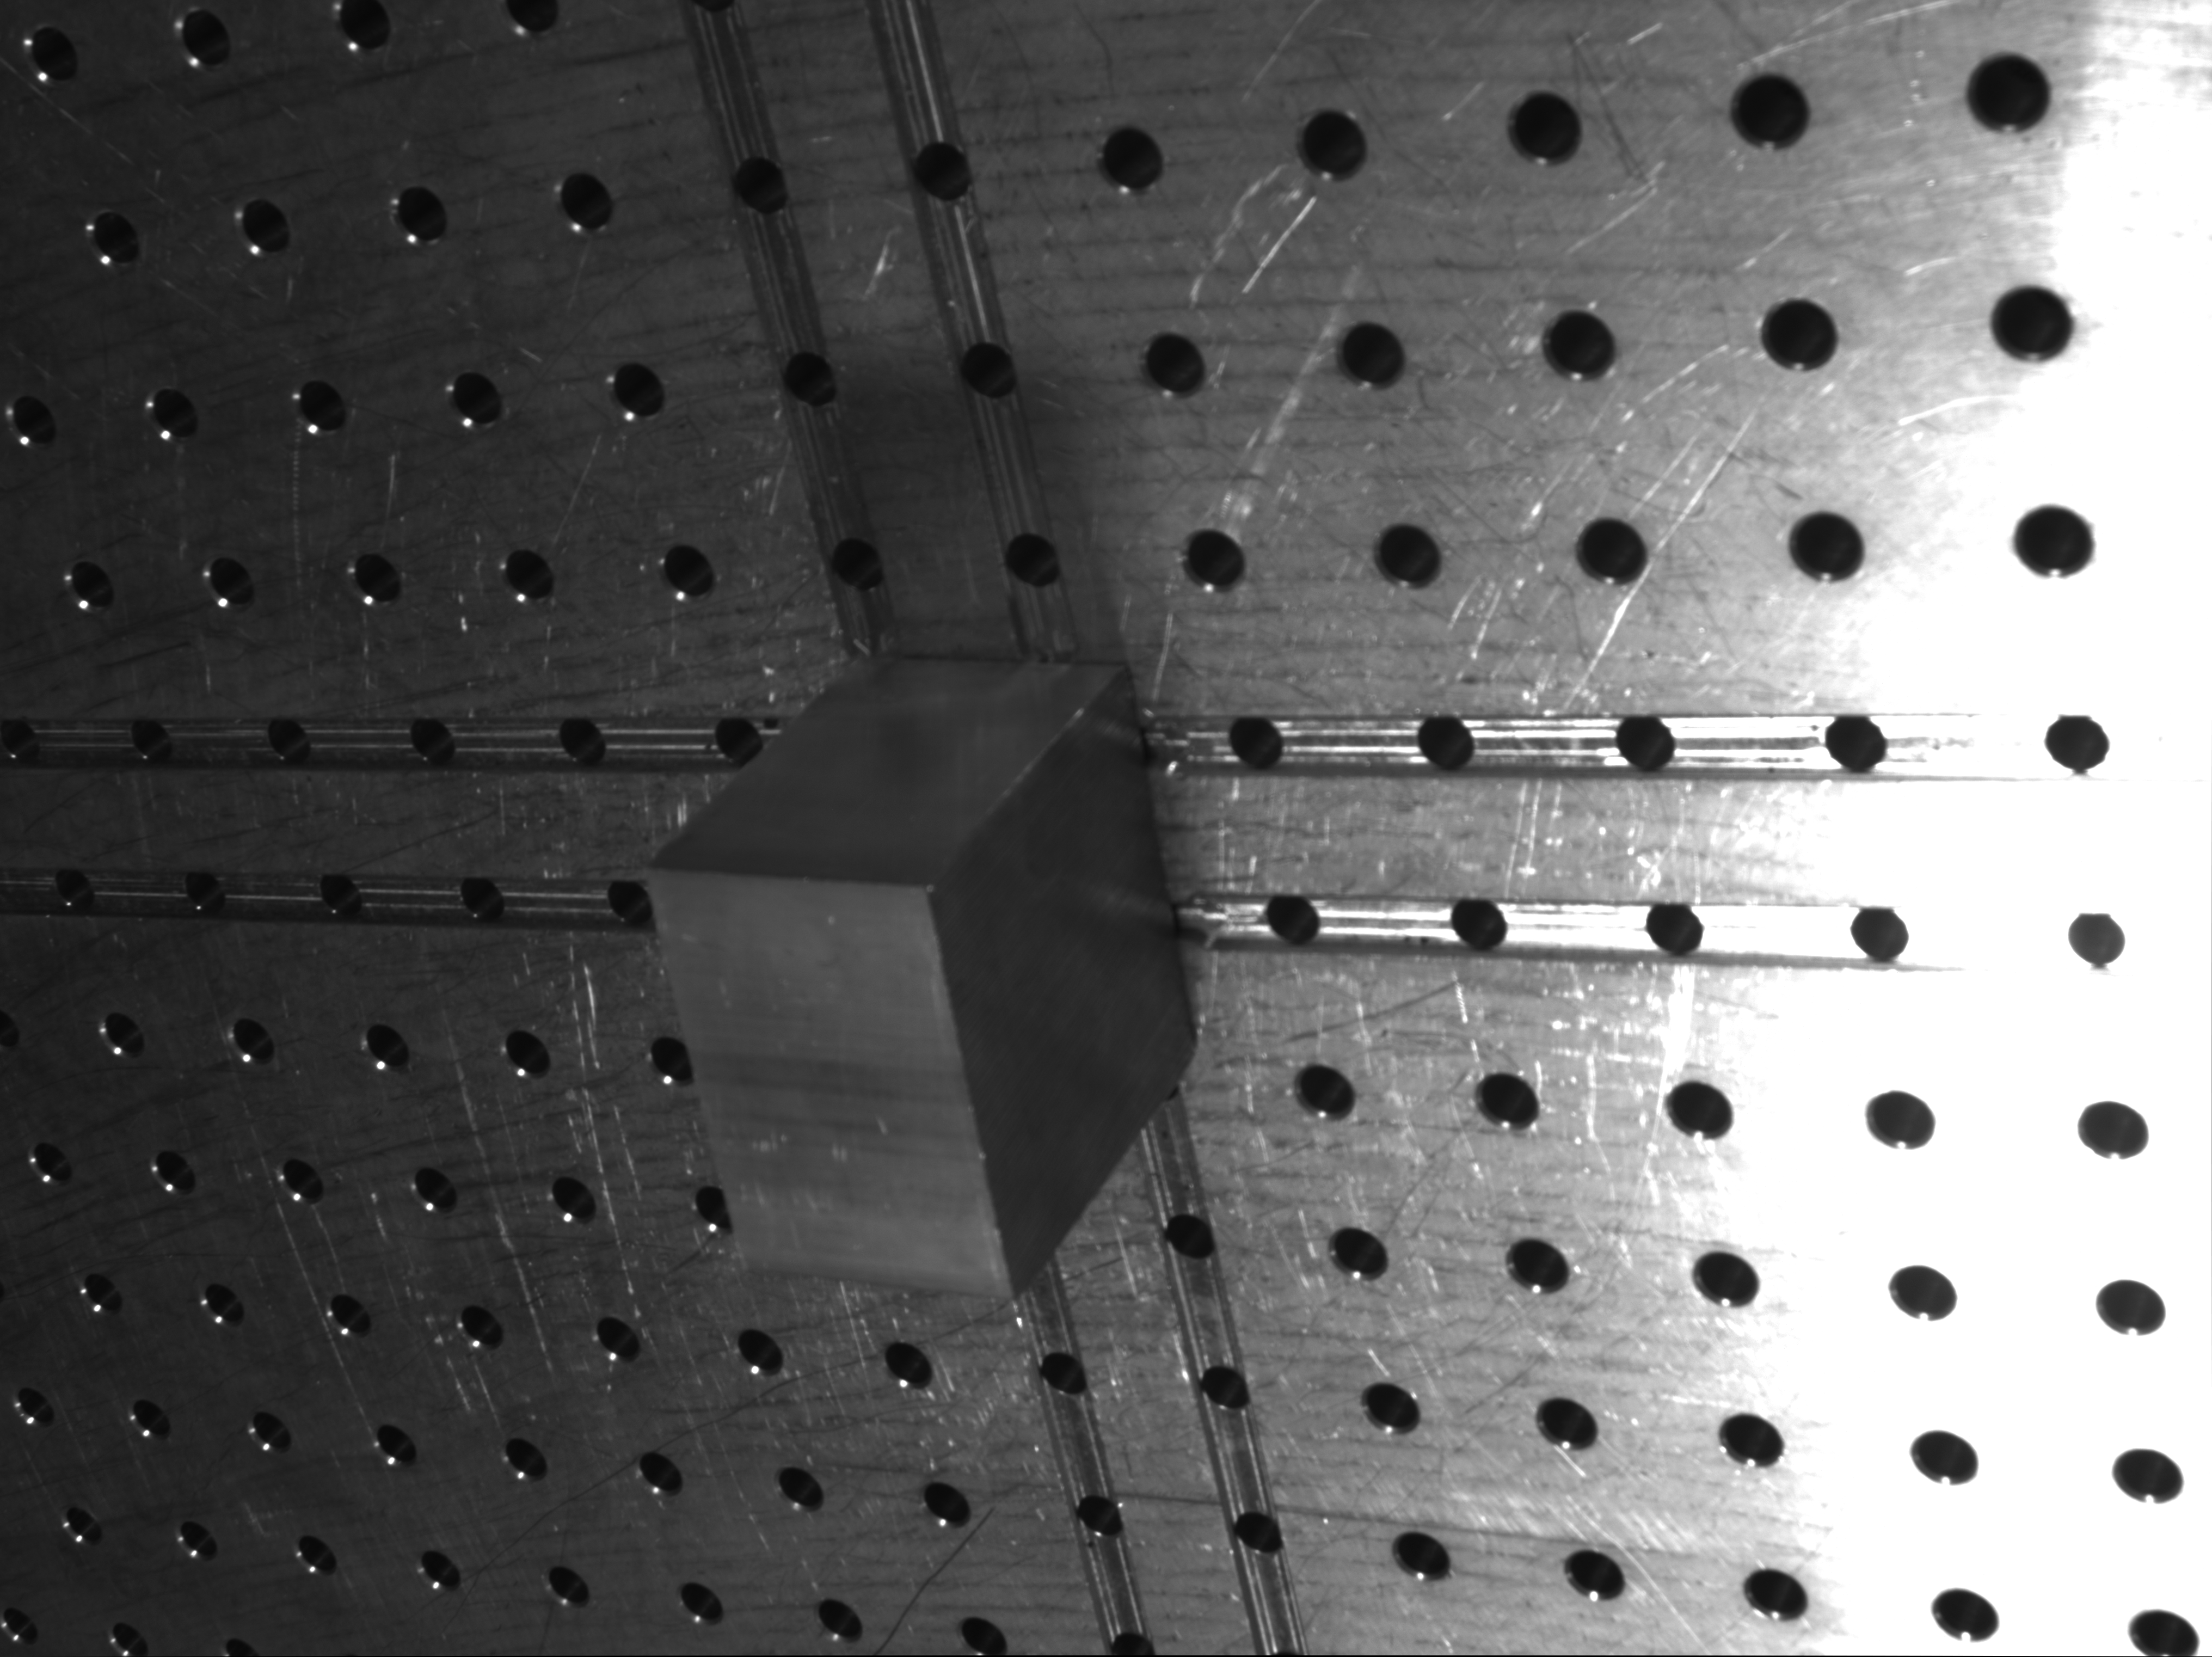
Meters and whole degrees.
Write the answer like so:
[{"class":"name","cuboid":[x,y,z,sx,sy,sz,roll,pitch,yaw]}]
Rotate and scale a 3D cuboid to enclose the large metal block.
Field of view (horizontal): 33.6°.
[{"class":"large metal block","cuboid":[-0.031,0.025,0.628,0.050,0.080,0.080,3,120,25]}]
